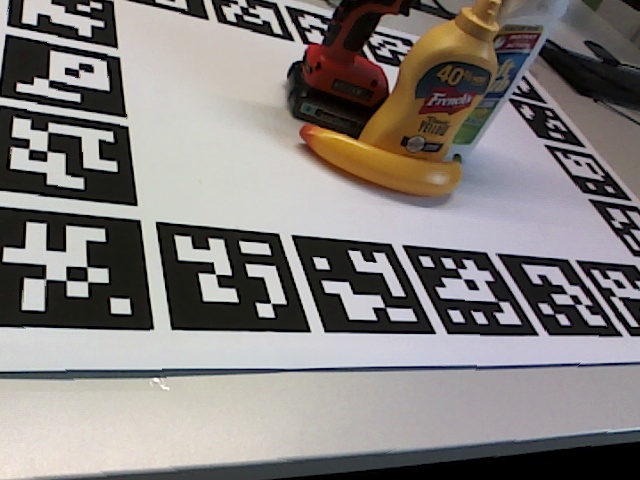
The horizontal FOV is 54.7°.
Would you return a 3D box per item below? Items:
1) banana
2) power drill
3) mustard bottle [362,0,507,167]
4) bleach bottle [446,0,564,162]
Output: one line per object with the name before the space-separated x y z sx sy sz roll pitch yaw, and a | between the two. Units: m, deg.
banana | 0.080 -0.076 0.644 0.196 0.039 0.074 8 45 -21
power drill | 0.078 -0.222 0.632 0.184 0.187 0.057 16 40 -18
mustard bottle | 0.124 -0.153 0.617 0.095 0.191 0.059 6 45 -27
bleach bottle | 0.181 -0.206 0.670 0.102 0.251 0.068 8 39 -24
